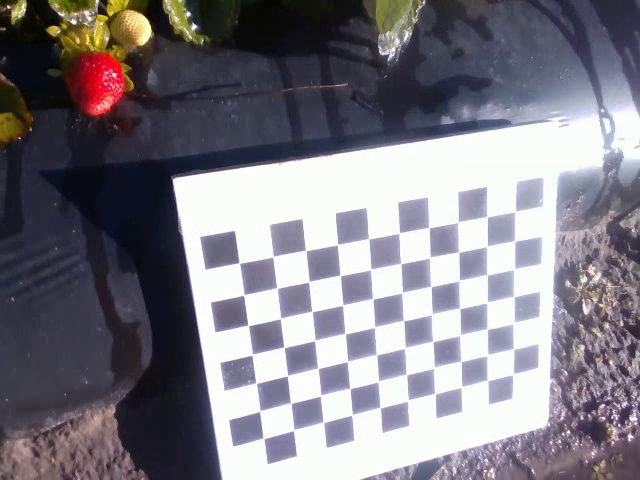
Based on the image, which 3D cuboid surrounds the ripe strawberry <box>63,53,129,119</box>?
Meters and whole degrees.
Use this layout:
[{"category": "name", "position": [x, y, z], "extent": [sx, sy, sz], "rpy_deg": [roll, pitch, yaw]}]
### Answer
[{"category": "ripe strawberry", "position": [-0.109, -0.073, 0.315], "extent": [0.039, 0.039, 0.040], "rpy_deg": [-16, -44, -1]}]
